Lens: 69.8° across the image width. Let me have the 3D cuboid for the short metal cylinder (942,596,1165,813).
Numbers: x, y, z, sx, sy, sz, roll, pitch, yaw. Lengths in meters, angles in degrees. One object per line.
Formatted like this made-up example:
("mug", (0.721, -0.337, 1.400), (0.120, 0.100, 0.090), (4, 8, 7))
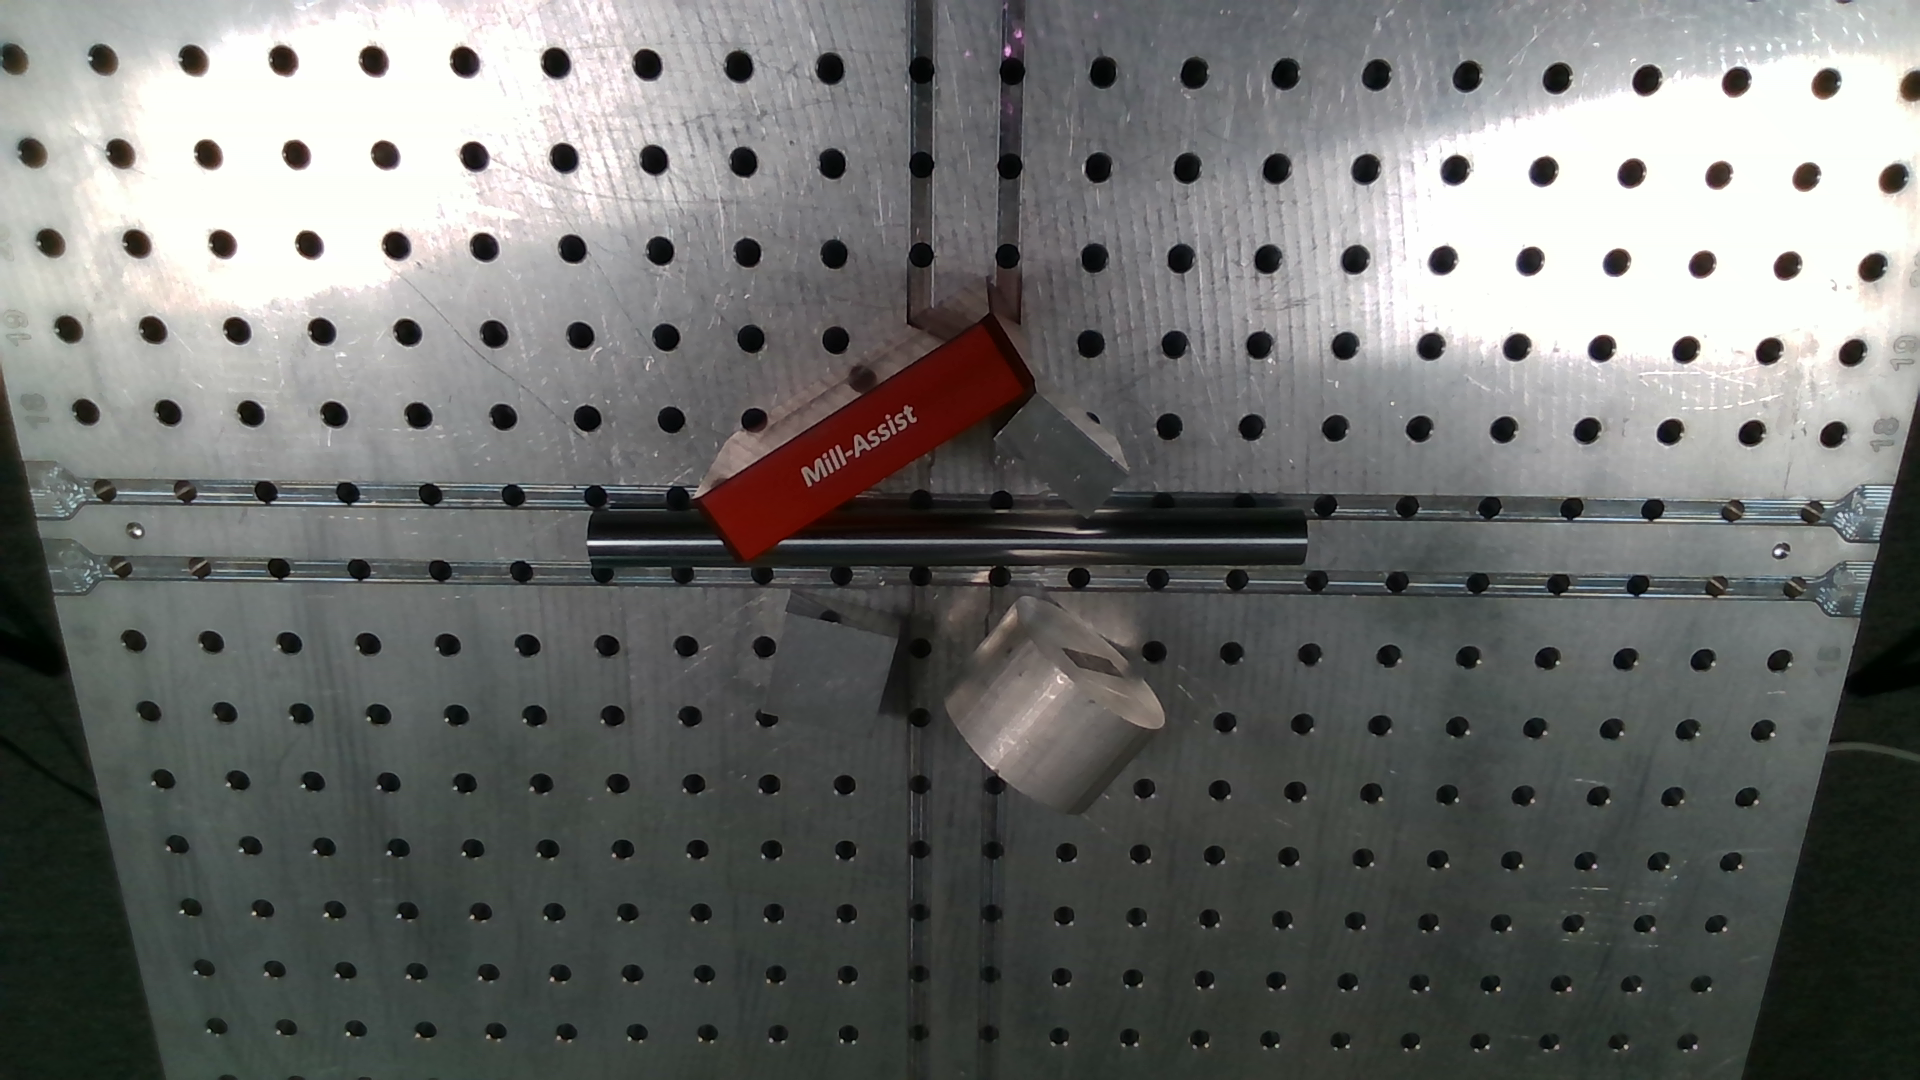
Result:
("short metal cylinder", (0.040, 0.069, 0.583), (0.080, 0.080, 0.050), (36, 106, -12))

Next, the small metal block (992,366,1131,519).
("small metal block", (0.040, -0.041, 0.558), (0.050, 0.050, 0.025), (39, 105, -13))

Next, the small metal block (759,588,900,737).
("small metal block", (-0.057, 0.054, 0.608), (0.050, 0.025, 0.050), (14, 110, -5))

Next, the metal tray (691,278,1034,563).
("metal tray", (-0.036, -0.049, 0.534), (0.130, 0.090, 0.030), (-31, 107, 11))

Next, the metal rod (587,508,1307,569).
("metal rod", (-0.006, -0.001, 0.586), (0.300, 0.025, 0.025), (0, 110, 0))
